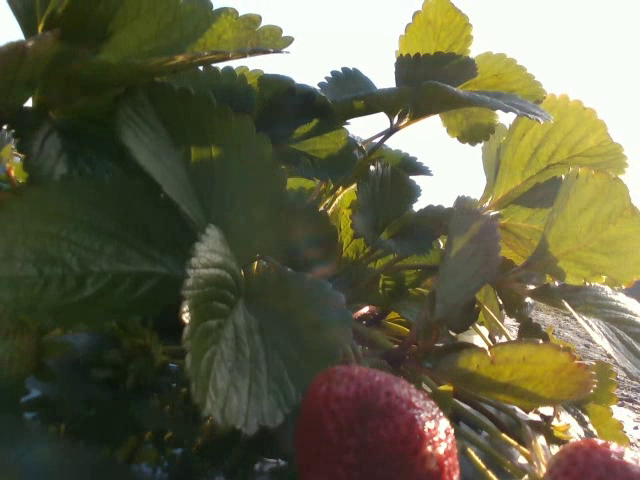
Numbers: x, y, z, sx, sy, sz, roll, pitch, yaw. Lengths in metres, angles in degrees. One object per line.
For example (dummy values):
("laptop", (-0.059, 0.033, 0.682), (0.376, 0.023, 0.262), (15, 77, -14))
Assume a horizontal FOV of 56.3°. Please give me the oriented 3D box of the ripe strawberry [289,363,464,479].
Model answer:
("ripe strawberry", (0.015, 0.050, 0.146), (0.039, 0.048, 0.054), (-30, -33, -10))
